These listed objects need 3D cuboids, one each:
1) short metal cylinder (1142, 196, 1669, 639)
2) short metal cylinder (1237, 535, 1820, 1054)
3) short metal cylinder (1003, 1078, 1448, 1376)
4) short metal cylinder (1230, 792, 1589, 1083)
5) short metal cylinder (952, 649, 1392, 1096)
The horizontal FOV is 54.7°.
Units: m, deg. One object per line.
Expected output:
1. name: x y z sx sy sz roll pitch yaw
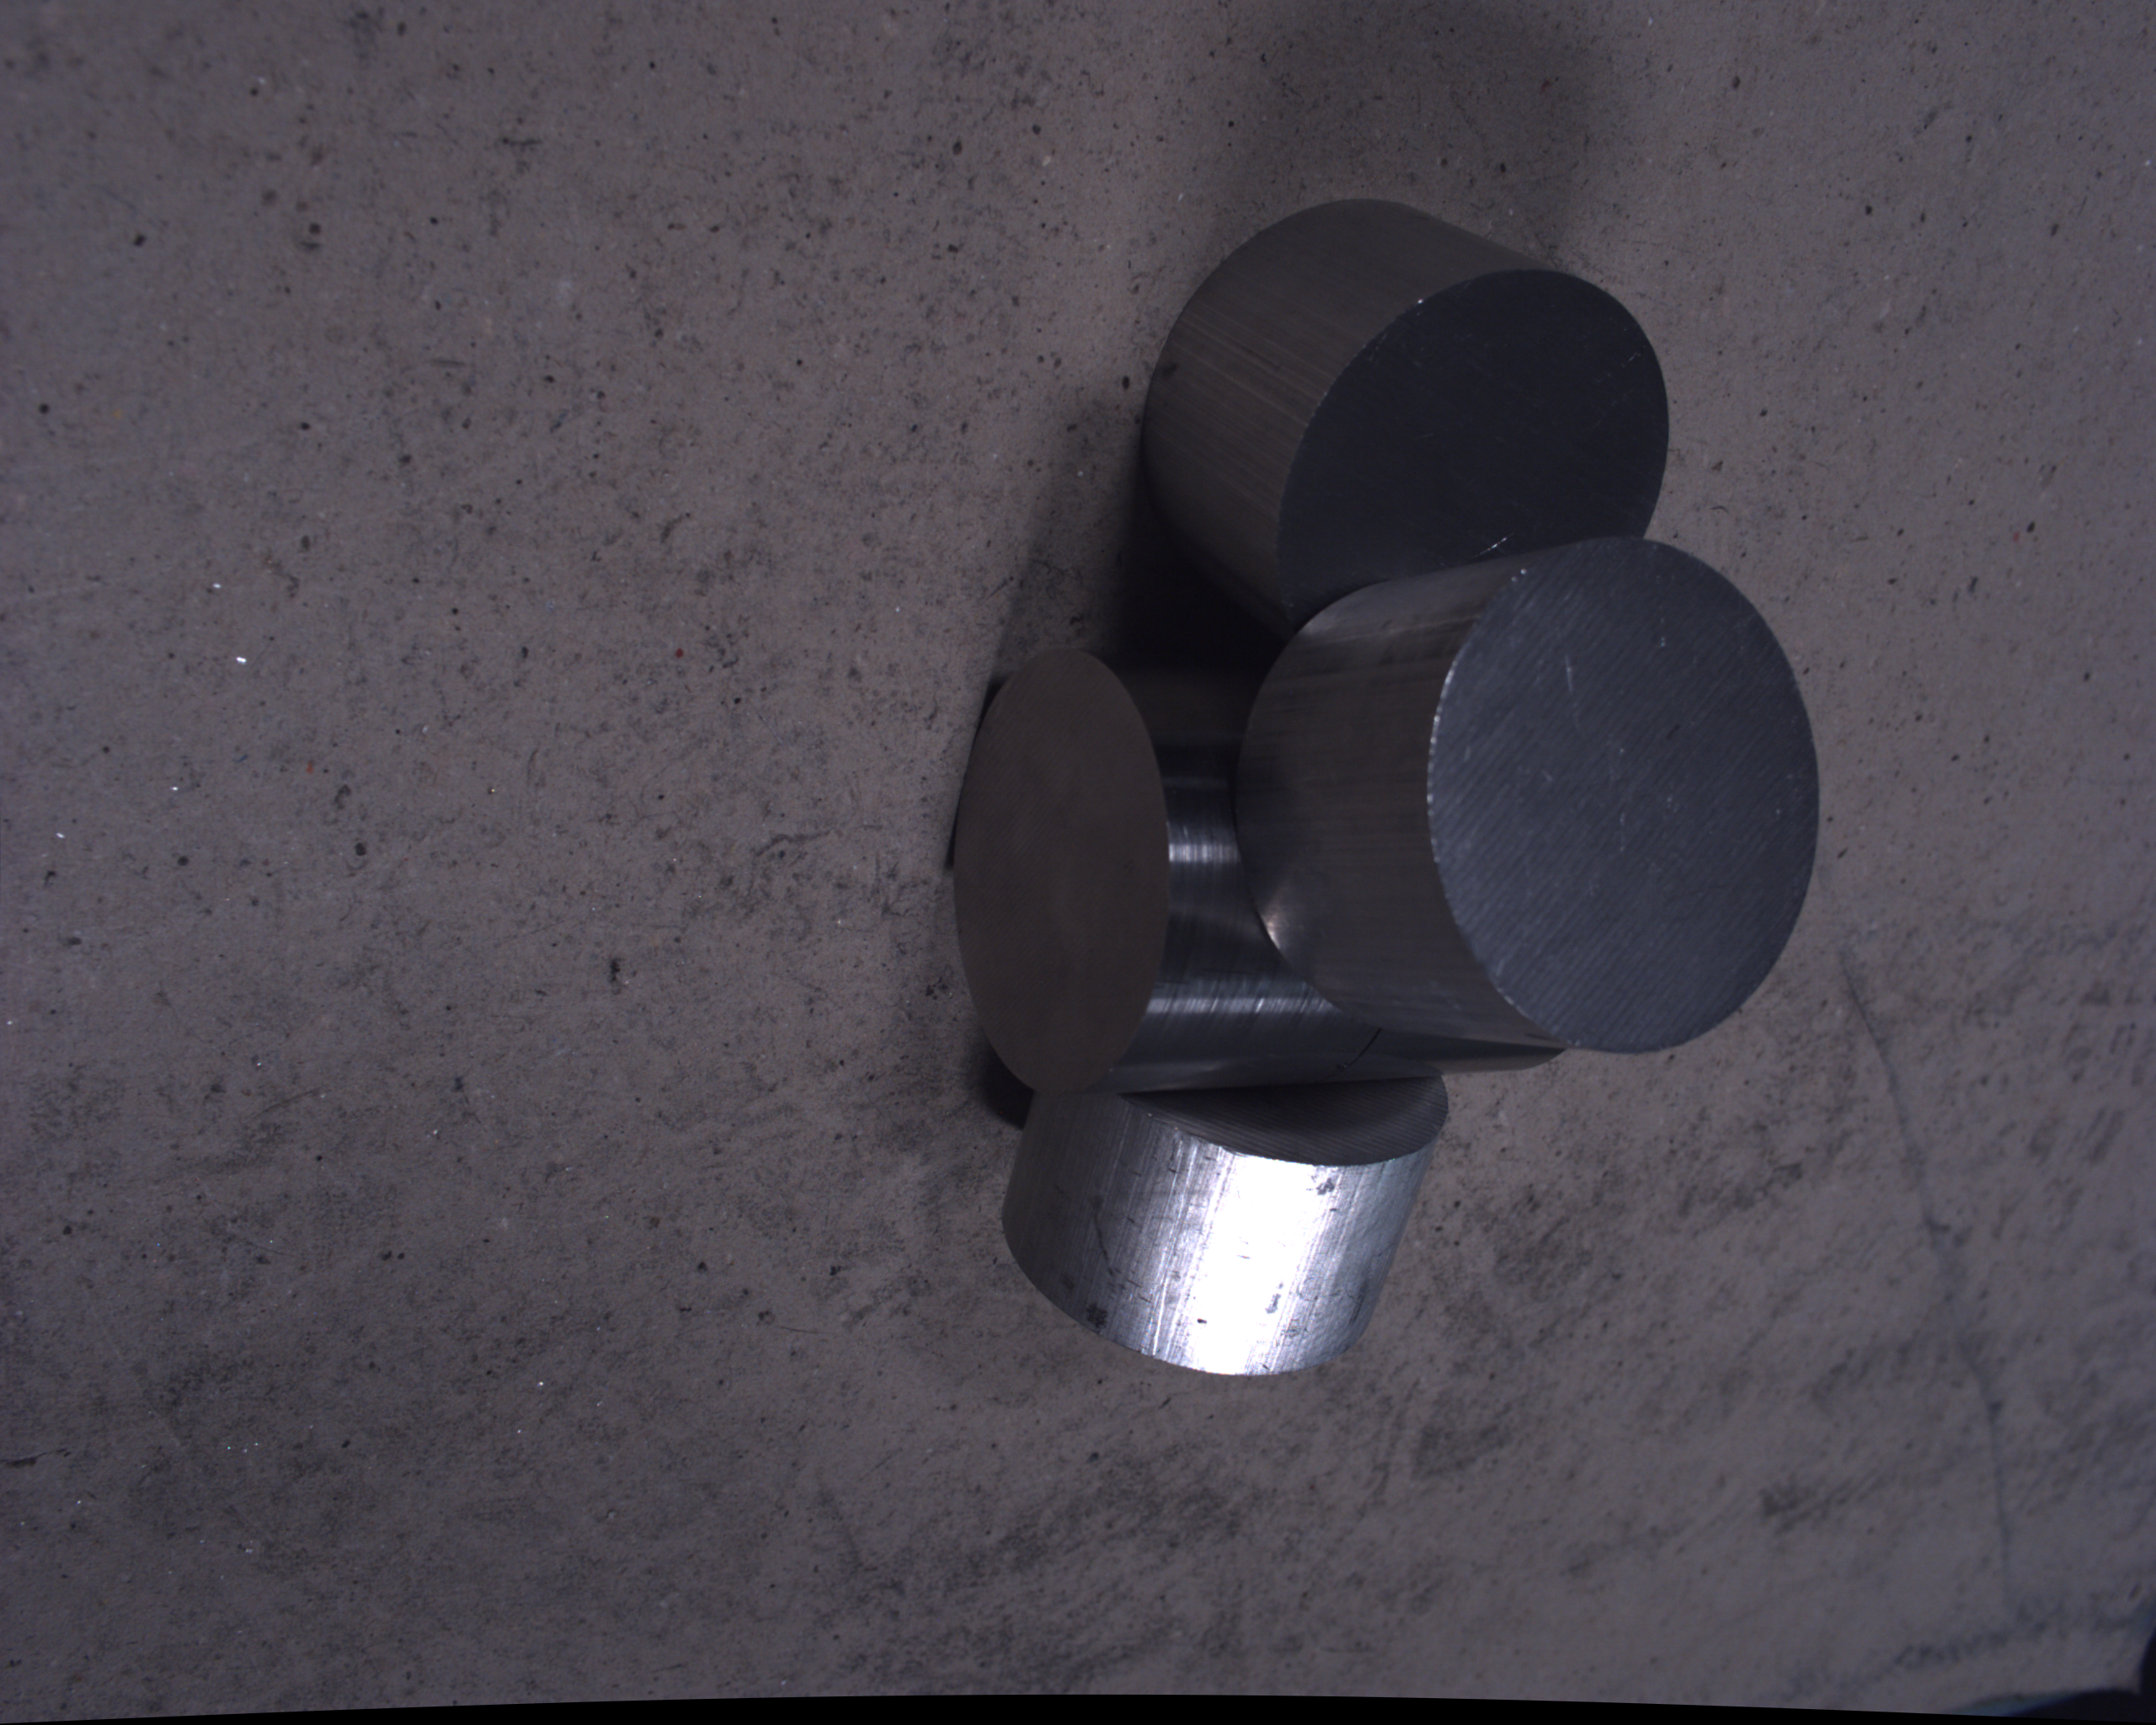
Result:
1. short metal cylinder: 0.059 -0.075 0.381 0.081 0.050 0.079 -14 125 -21
2. short metal cylinder: 0.074 -0.010 0.342 0.081 0.050 0.079 0 90 -29
3. short metal cylinder: 0.029 0.059 0.427 0.081 0.080 0.050 0 118 -29
4. short metal cylinder: 0.063 0.003 0.410 0.050 0.080 0.079 1 118 -28
5. short metal cylinder: 0.017 0.002 0.385 0.050 0.080 0.079 1 118 -29
